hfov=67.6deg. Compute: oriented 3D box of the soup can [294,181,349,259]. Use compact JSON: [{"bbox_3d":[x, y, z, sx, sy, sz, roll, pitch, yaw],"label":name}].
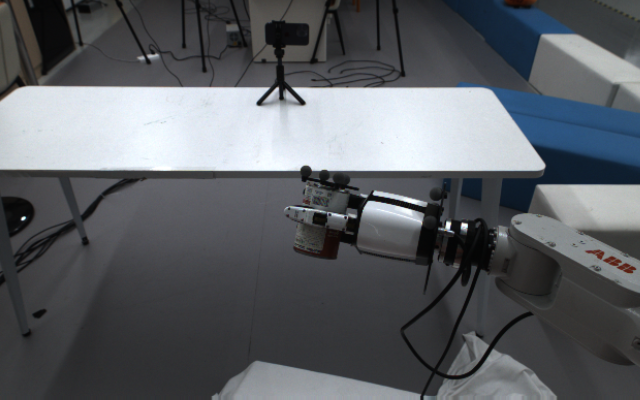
[{"bbox_3d":[0.004,0.031,0.711,0.067,0.101,0.067,12,2,0],"label":"soup can"}]
